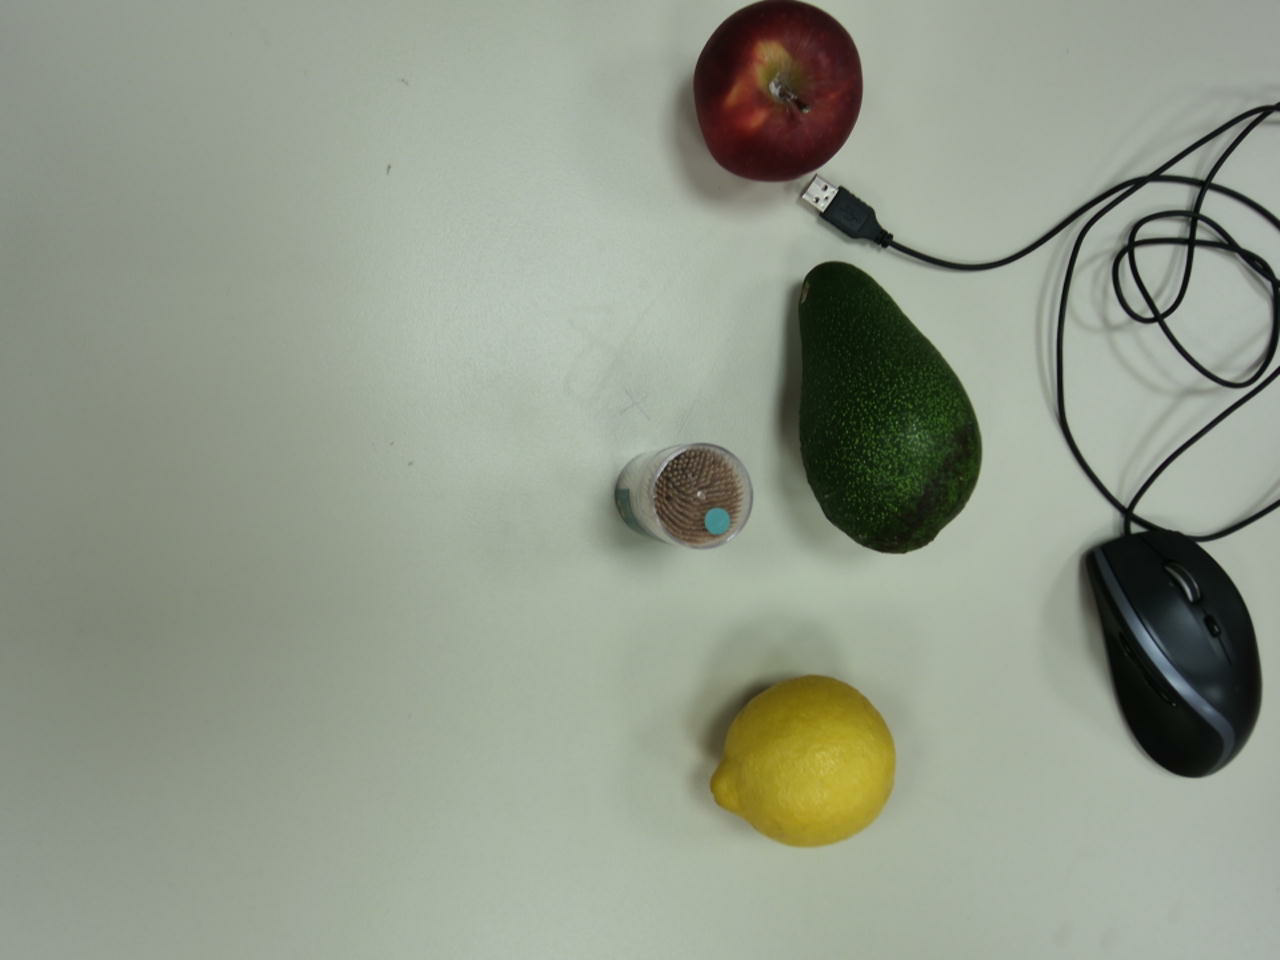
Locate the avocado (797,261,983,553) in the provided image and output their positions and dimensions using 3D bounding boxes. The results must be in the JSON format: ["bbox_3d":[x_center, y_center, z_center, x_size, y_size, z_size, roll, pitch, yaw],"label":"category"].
[{"bbox_3d":[0.105,-0.031,0.418,0.074,0.076,0.123,5,89,-11],"label":"avocado"}]
